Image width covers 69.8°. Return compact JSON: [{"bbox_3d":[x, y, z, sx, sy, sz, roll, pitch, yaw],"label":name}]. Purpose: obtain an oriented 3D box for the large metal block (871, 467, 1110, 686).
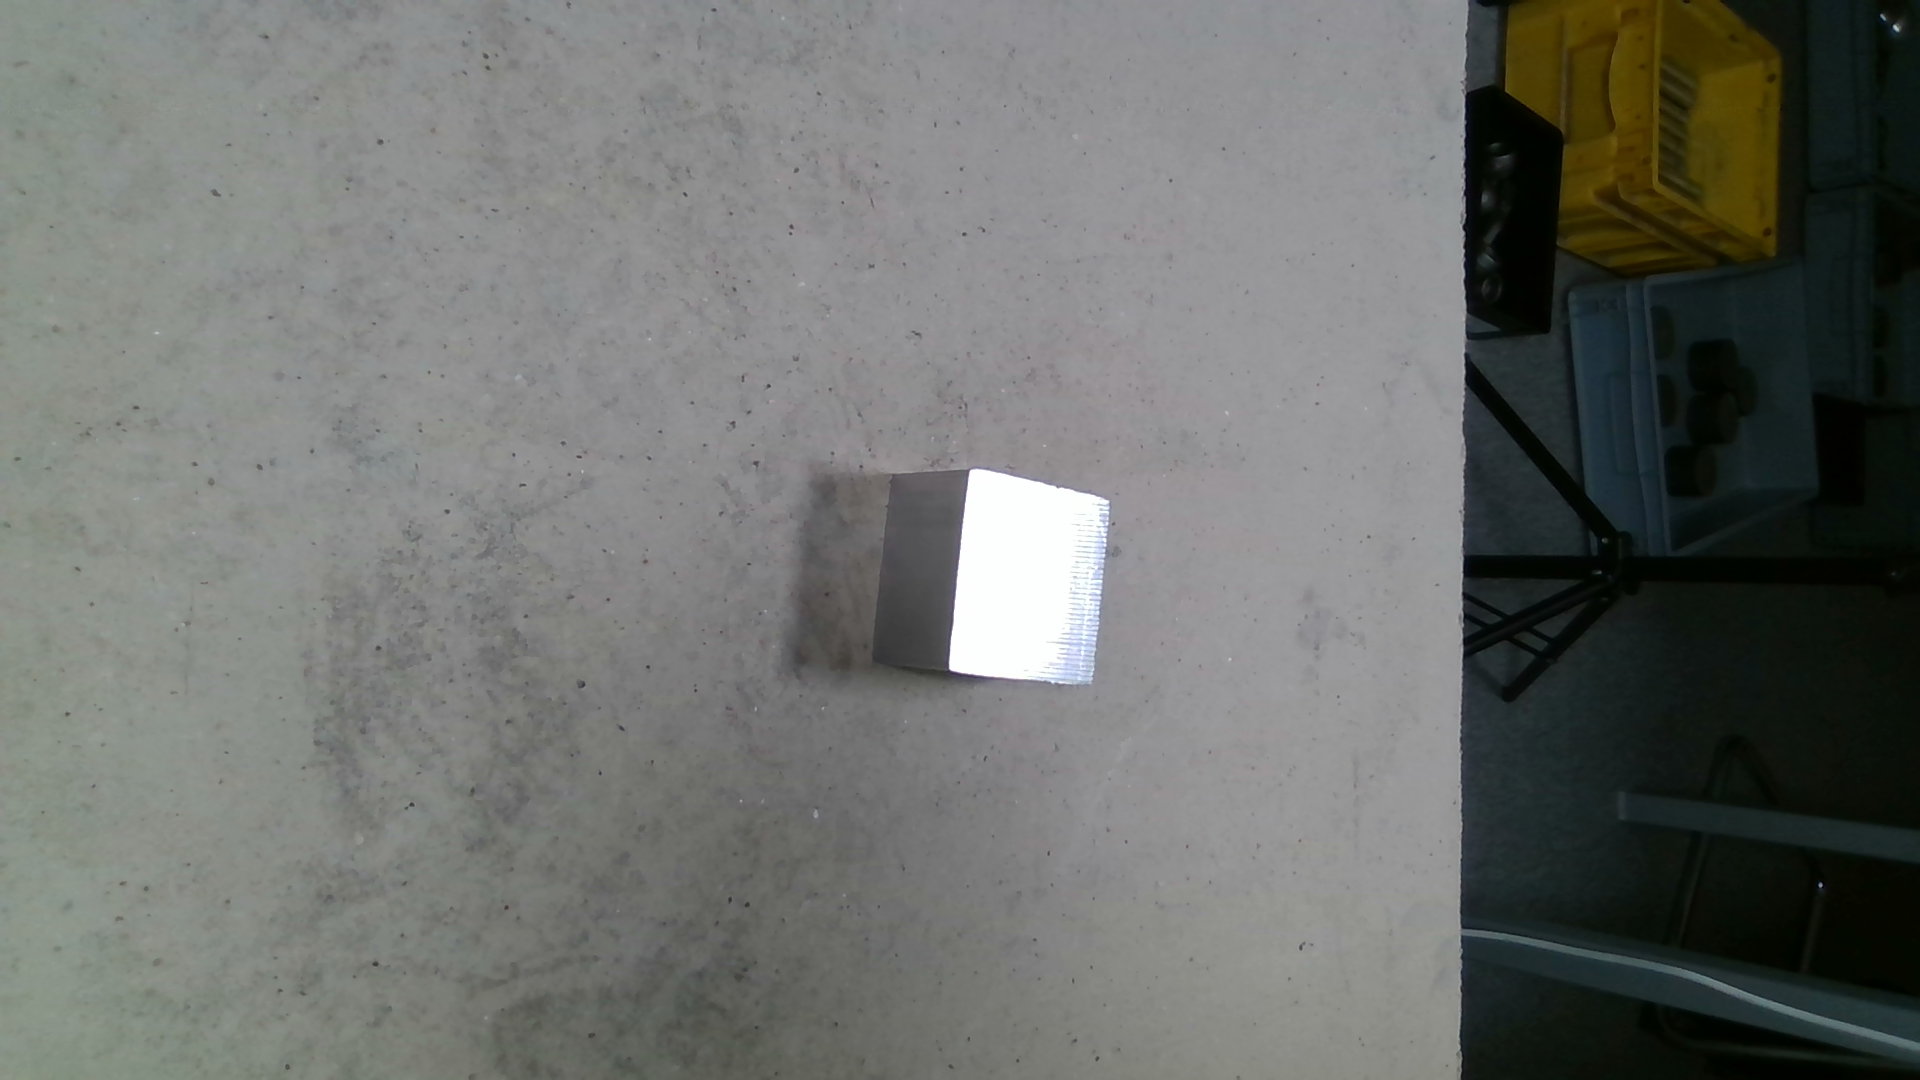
[{"bbox_3d":[0.014,0.017,0.579,0.080,0.050,0.080,10,84,-40],"label":"large metal block"}]
